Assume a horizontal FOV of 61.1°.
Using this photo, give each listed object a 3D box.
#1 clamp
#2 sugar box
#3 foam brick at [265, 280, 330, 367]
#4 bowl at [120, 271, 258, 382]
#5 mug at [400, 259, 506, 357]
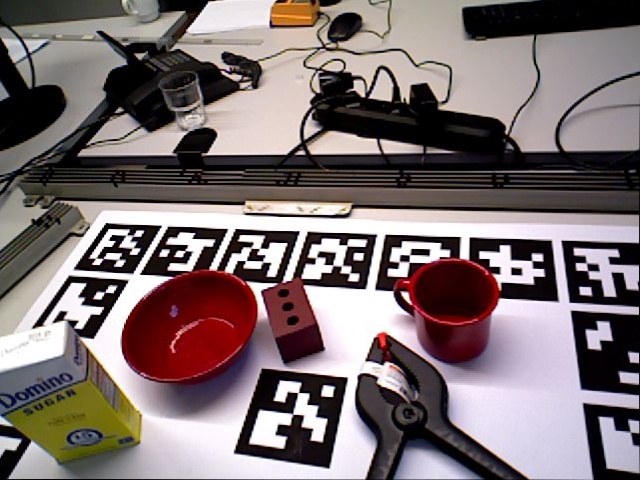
[{"bbox_3d":[0.088,0.169,0.522,0.165,0.037,0.200,-17,46,-1],"label":"clamp"},{"bbox_3d":[-0.249,0.155,0.519,0.092,0.180,0.045,-15,46,-6],"label":"sugar box"},{"bbox_3d":[-0.027,0.096,0.626,0.052,0.052,0.077,-18,46,-5],"label":"foam brick"},{"bbox_3d":[-0.146,0.106,0.631,0.161,0.056,0.159,-6,45,5],"label":"bowl"},{"bbox_3d":[0.140,0.067,0.585,0.117,0.083,0.091,25,55,27],"label":"mug"}]
